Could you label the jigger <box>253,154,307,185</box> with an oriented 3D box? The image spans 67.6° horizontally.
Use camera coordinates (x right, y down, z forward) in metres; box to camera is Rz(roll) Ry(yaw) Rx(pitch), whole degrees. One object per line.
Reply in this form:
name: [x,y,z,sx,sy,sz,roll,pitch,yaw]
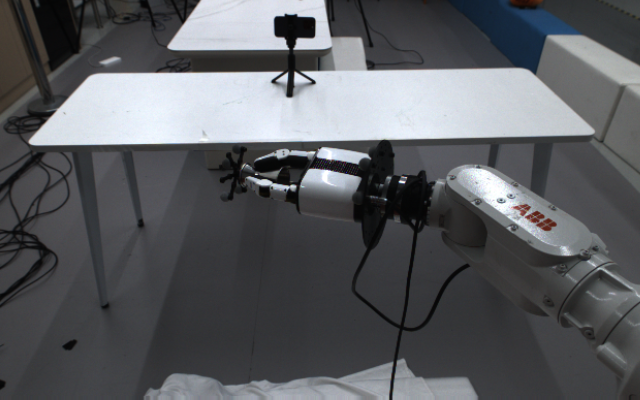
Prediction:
jigger: [-0.082,-0.038,0.757,0.071,0.043,0.043,10,35,22]
